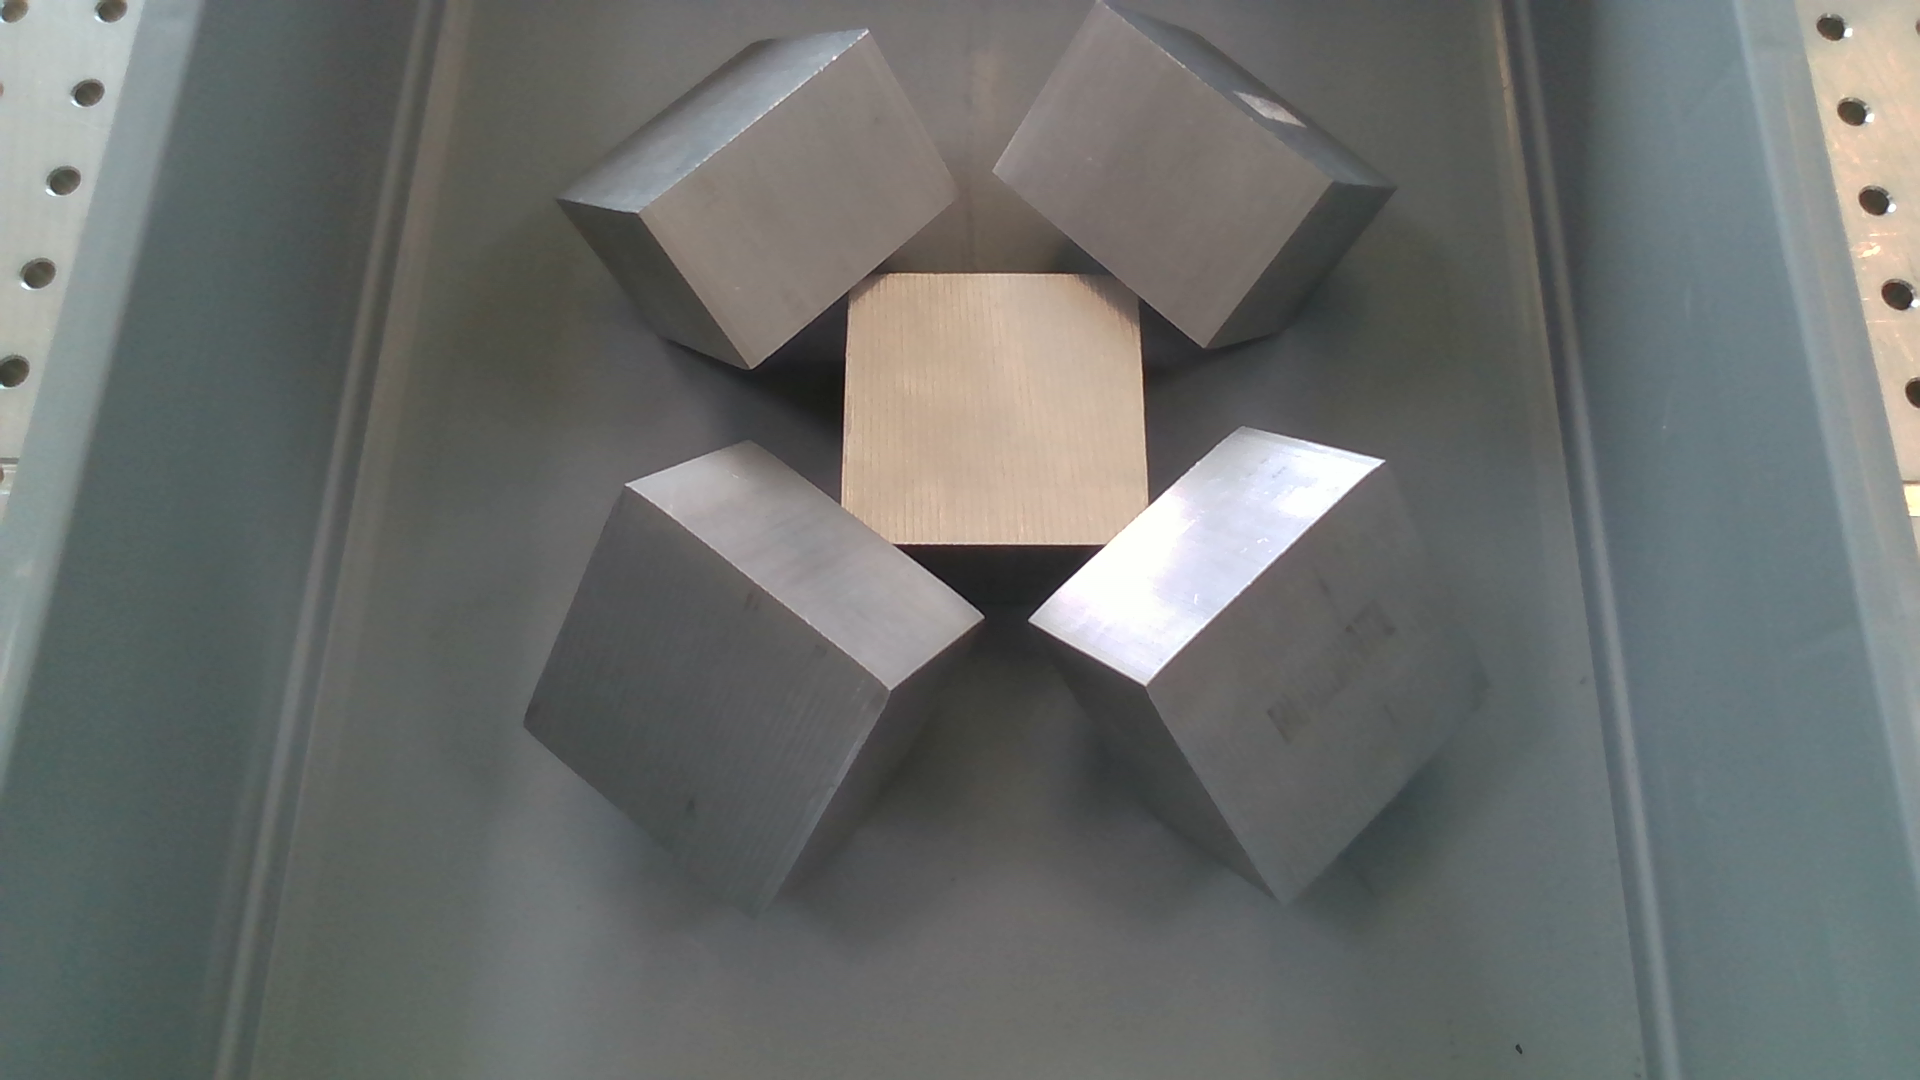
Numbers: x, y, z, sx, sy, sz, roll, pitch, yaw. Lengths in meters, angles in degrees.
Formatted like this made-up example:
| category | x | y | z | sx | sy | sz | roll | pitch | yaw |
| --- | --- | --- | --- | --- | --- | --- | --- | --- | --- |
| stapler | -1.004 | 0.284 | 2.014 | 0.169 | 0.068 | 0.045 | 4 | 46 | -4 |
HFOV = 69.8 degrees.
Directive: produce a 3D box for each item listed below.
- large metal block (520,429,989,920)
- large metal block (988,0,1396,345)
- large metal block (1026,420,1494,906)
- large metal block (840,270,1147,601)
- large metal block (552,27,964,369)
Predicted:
| category | x | y | z | sx | sy | sz | roll | pitch | yaw |
| --- | --- | --- | --- | --- | --- | --- | --- | --- | --- |
| large metal block | -0.053 | 0.032 | 0.347 | 0.080 | 0.050 | 0.080 | 37 | 119 | 11 |
| large metal block | 0.068 | -0.104 | 0.393 | 0.080 | 0.080 | 0.050 | 42 | 119 | 13 |
| large metal block | 0.077 | 0.029 | 0.349 | 0.080 | 0.050 | 0.080 | -41 | 119 | -14 |
| large metal block | 0.009 | -0.028 | 0.390 | 0.080 | 0.050 | 0.080 | 1 | 70 | 0 |
| large metal block | -0.060 | -0.099 | 0.395 | 0.080 | 0.050 | 0.080 | -42 | 31 | -13 |
